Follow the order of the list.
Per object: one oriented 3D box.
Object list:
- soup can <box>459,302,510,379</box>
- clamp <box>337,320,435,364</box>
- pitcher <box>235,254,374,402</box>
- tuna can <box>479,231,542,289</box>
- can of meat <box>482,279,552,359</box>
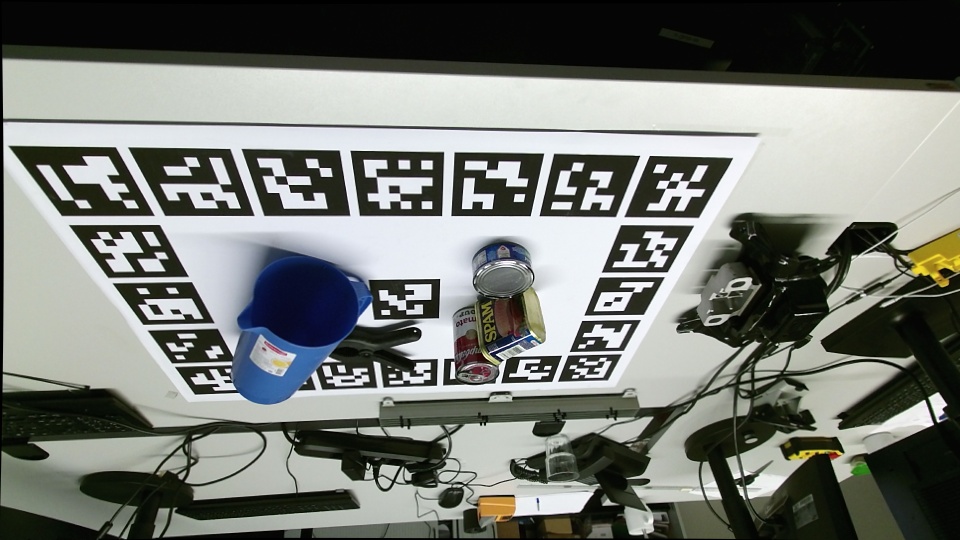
[{"bbox_3d":[0.005,0.109,0.838,0.068,0.101,0.068,-6,138,-5],"label":"soup can"},{"bbox_3d":[-0.159,0.119,0.891,0.166,0.036,0.122,3,142,-6],"label":"clamp"},{"bbox_3d":[-0.258,0.094,0.755,0.189,0.132,0.243,-5,152,-36],"label":"pitcher"},{"bbox_3d":[0.042,-0.013,0.750,0.086,0.033,0.086,-4,137,-3],"label":"tuna can"},{"bbox_3d":[0.057,0.067,0.789,0.084,0.101,0.058,-28,134,18],"label":"can of meat"}]
